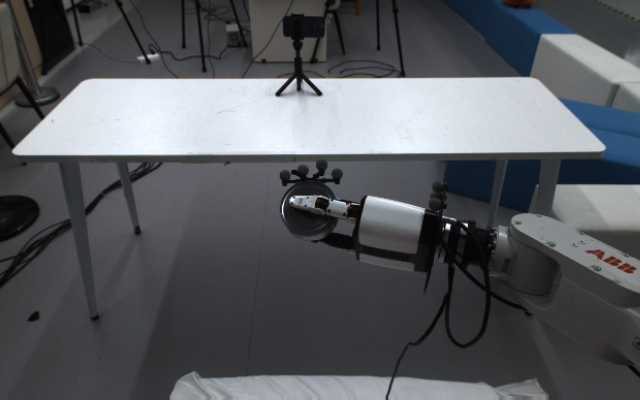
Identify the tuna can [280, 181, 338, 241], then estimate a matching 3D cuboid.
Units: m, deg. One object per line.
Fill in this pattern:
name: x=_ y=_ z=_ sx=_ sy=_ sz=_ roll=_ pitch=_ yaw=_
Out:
tuna can: x=-0.013 y=0.020 z=0.712 sx=0.085 sy=0.034 sz=0.085 roll=-2 pitch=69 yaw=6
